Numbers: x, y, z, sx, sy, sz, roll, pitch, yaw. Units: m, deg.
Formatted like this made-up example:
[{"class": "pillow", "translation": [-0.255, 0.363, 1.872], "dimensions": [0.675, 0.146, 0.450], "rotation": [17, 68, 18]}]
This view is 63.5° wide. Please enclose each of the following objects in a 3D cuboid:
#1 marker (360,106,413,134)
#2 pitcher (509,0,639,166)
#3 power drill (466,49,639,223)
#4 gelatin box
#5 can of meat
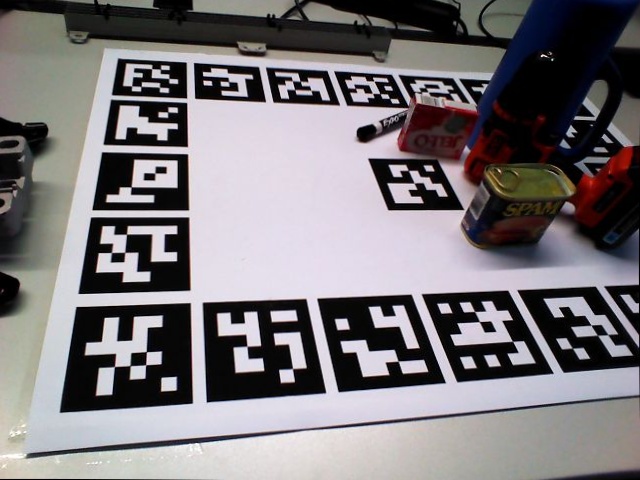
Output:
[{"class": "marker", "translation": [0.107, -0.174, 0.741], "dimensions": [0.120, 0.020, 0.019], "rotation": [-23, 57, -29]}, {"class": "pitcher", "translation": [0.325, -0.205, 0.678], "dimensions": [0.189, 0.243, 0.132], "rotation": [20, 50, 14]}, {"class": "power drill", "translation": [0.291, -0.113, 0.617], "dimensions": [0.187, 0.186, 0.057], "rotation": [30, 51, 6]}, {"class": "gelatin box", "translation": [0.172, -0.150, 0.700], "dimensions": [0.089, 0.074, 0.030], "rotation": [9, 51, -7]}, {"class": "can of meat", "translation": [0.227, -0.035, 0.594], "dimensions": [0.102, 0.084, 0.057], "rotation": [-1, 47, -14]}]
